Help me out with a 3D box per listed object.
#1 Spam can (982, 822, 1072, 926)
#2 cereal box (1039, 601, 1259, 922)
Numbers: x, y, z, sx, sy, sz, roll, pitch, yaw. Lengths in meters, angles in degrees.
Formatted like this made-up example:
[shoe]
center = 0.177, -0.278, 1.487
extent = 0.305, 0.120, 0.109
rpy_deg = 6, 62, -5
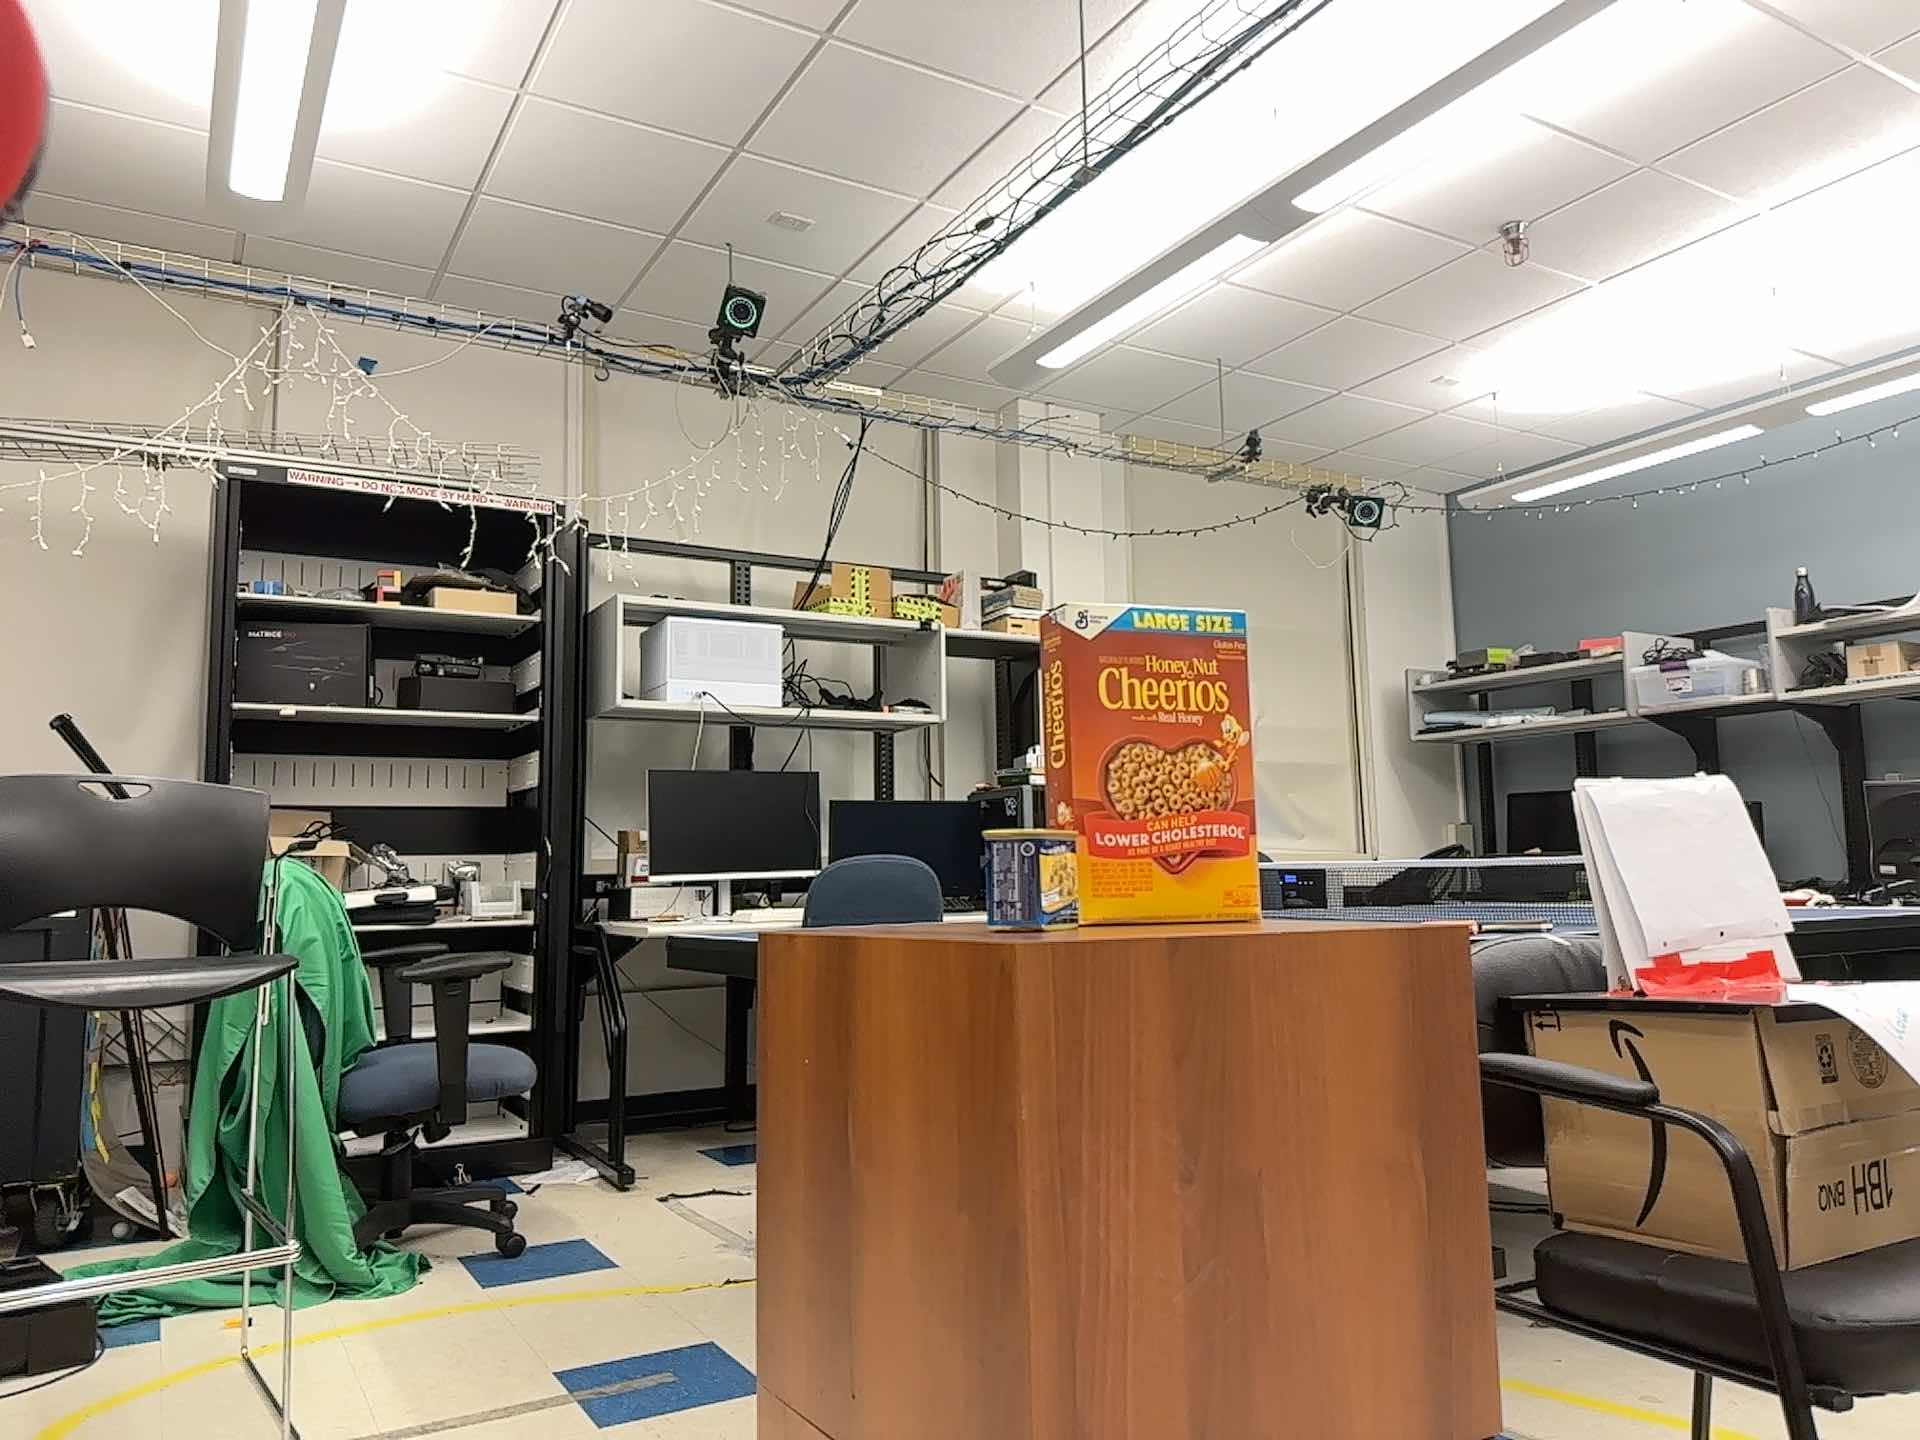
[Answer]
[Spam can]
center = 0.059, 0.132, 1.153
extent = 0.056, 0.083, 0.100
rpy_deg = -4, -9, 21
[cereal box]
center = 0.183, 0.042, 1.318
extent = 0.195, 0.297, 0.065
rpy_deg = 4, -9, -21
